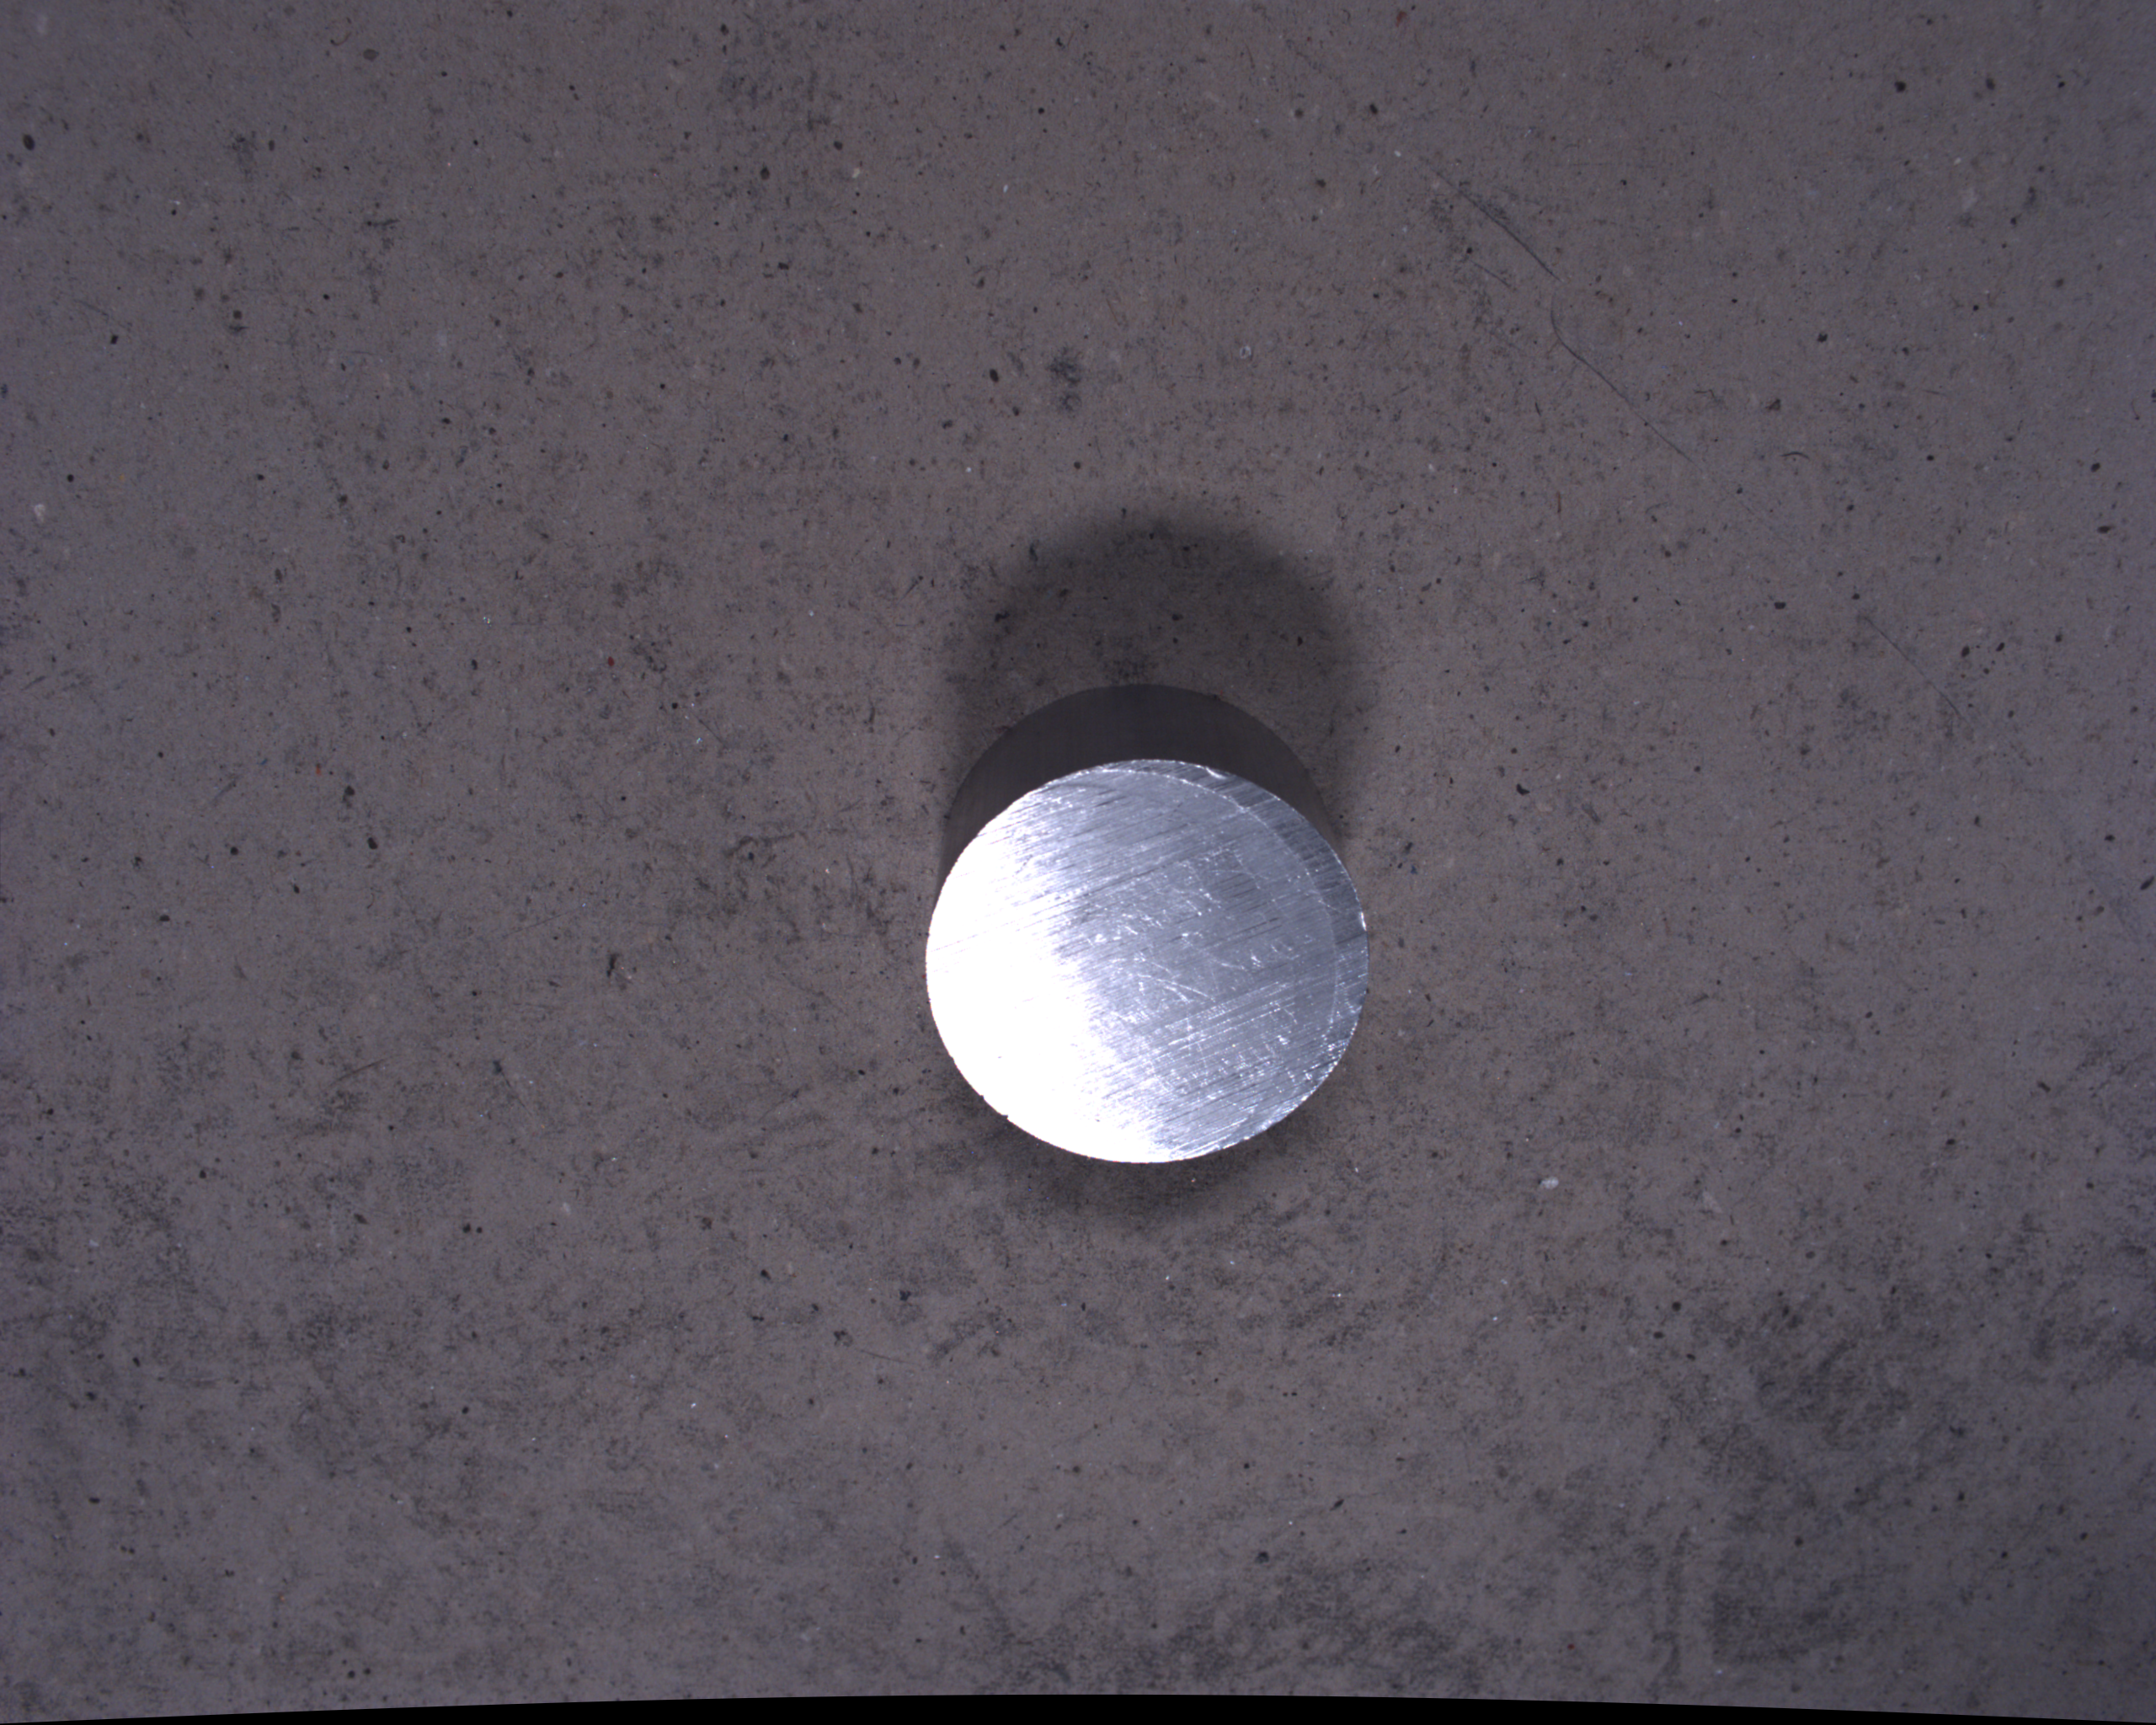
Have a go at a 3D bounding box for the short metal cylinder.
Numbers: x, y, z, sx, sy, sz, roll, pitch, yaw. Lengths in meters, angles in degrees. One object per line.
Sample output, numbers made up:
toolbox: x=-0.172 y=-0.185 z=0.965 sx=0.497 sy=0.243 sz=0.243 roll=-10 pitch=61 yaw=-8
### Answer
short metal cylinder: x=0.013 y=0.010 z=0.402 sx=0.081 sy=0.050 sz=0.079 roll=0 pitch=110 yaw=-1
